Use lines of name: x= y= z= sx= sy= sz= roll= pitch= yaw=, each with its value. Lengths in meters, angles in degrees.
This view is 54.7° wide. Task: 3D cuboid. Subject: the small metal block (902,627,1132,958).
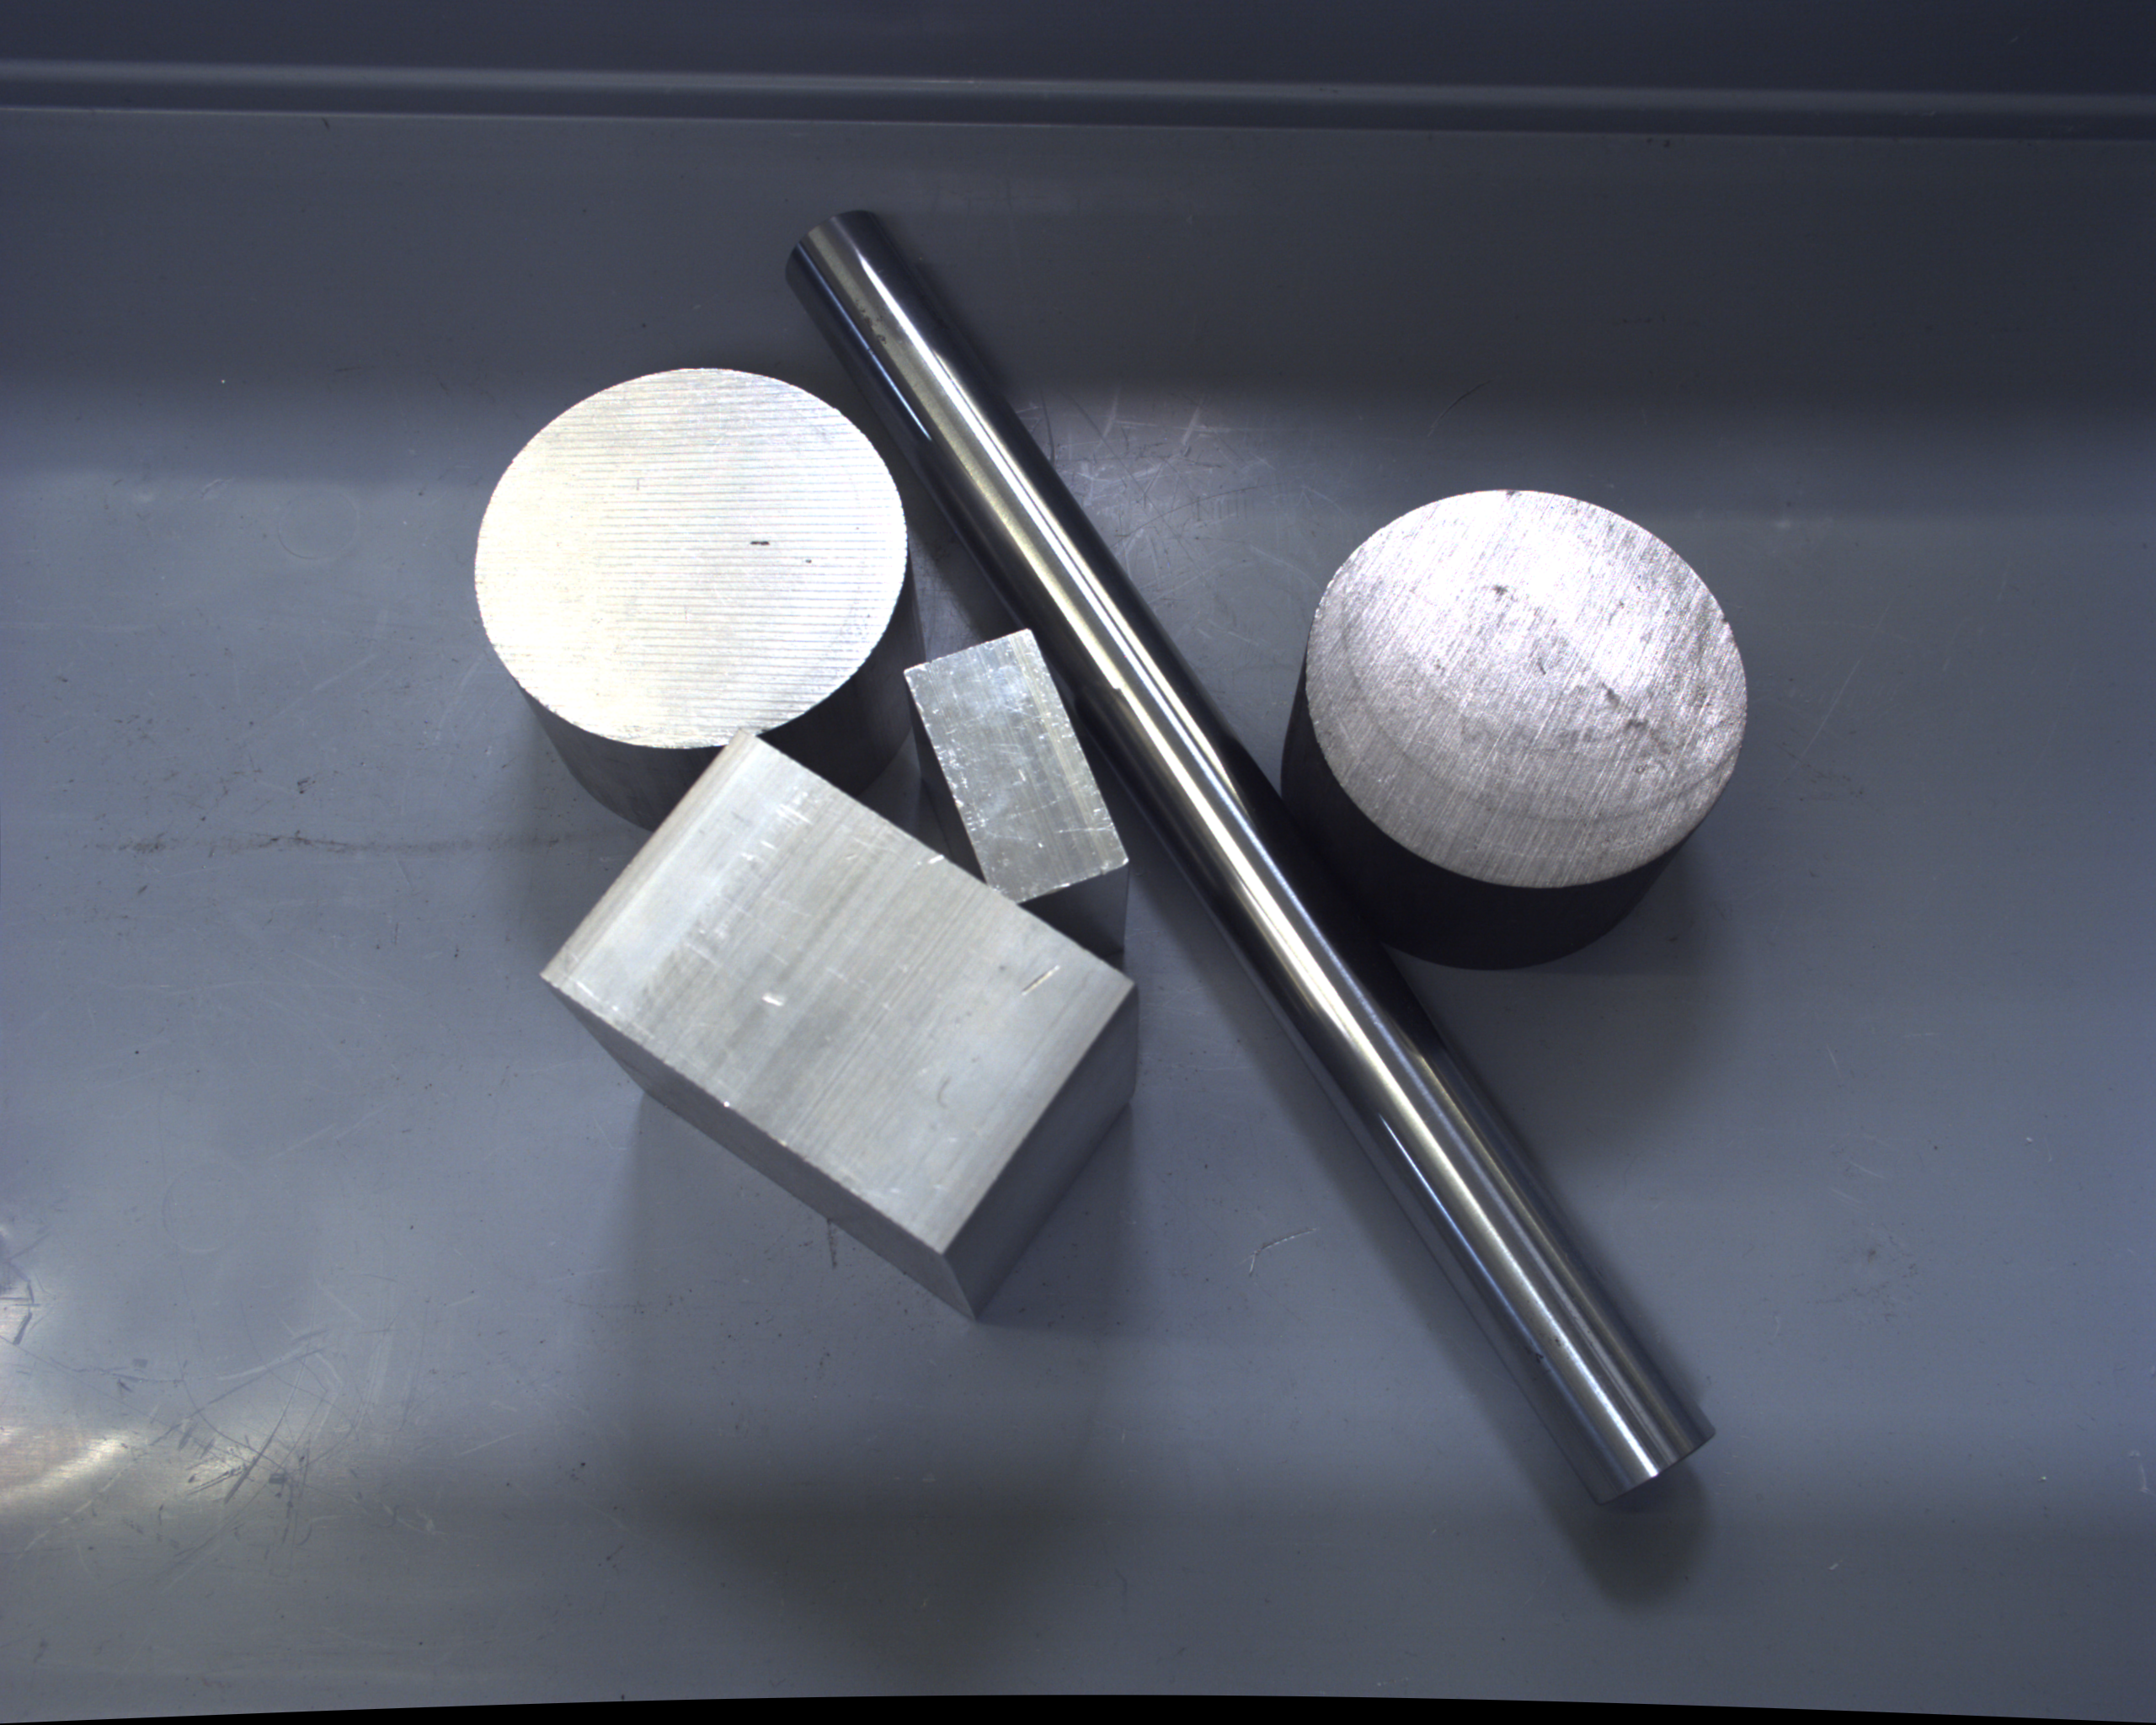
small metal block: x=-0.011 y=-0.009 z=0.397 sx=0.025 sy=0.050 sz=0.050 roll=-20 pitch=72 yaw=-7

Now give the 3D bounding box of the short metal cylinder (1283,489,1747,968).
short metal cylinder: x=0.082 y=-0.025 z=0.404 sx=0.081 sy=0.050 sz=0.080 roll=0 pitch=70 yaw=0

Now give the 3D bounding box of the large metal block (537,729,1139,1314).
large metal block: x=-0.037 y=0.032 z=0.366 sx=0.080 sy=0.080 sz=0.050 roll=32 pitch=74 yaw=11

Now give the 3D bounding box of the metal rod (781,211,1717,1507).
metal rod: x=0.024 y=-0.013 z=0.412 sx=0.025 sy=0.025 sz=0.299 roll=-30 pitch=73 yaw=-10

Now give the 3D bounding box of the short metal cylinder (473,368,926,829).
short metal cylinder: x=-0.072 y=-0.050 z=0.412 sx=0.081 sy=0.050 sz=0.080 roll=0 pitch=70 yaw=0
